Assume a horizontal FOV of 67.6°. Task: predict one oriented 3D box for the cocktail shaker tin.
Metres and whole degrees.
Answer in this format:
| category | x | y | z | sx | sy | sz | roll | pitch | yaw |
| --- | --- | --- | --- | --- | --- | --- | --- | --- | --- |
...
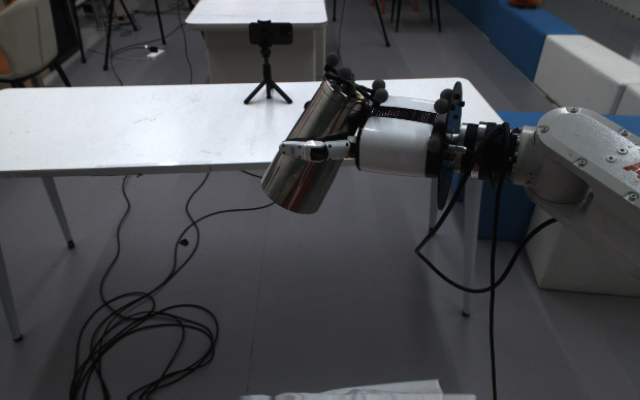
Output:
| category | x | y | z | sx | sy | sz | roll | pitch | yaw |
| --- | --- | --- | --- | --- | --- | --- | --- | --- | --- |
| cocktail shaker tin | -0.003 | -0.079 | 0.653 | 0.093 | 0.170 | 0.093 | 25 | 29 | -15 |
